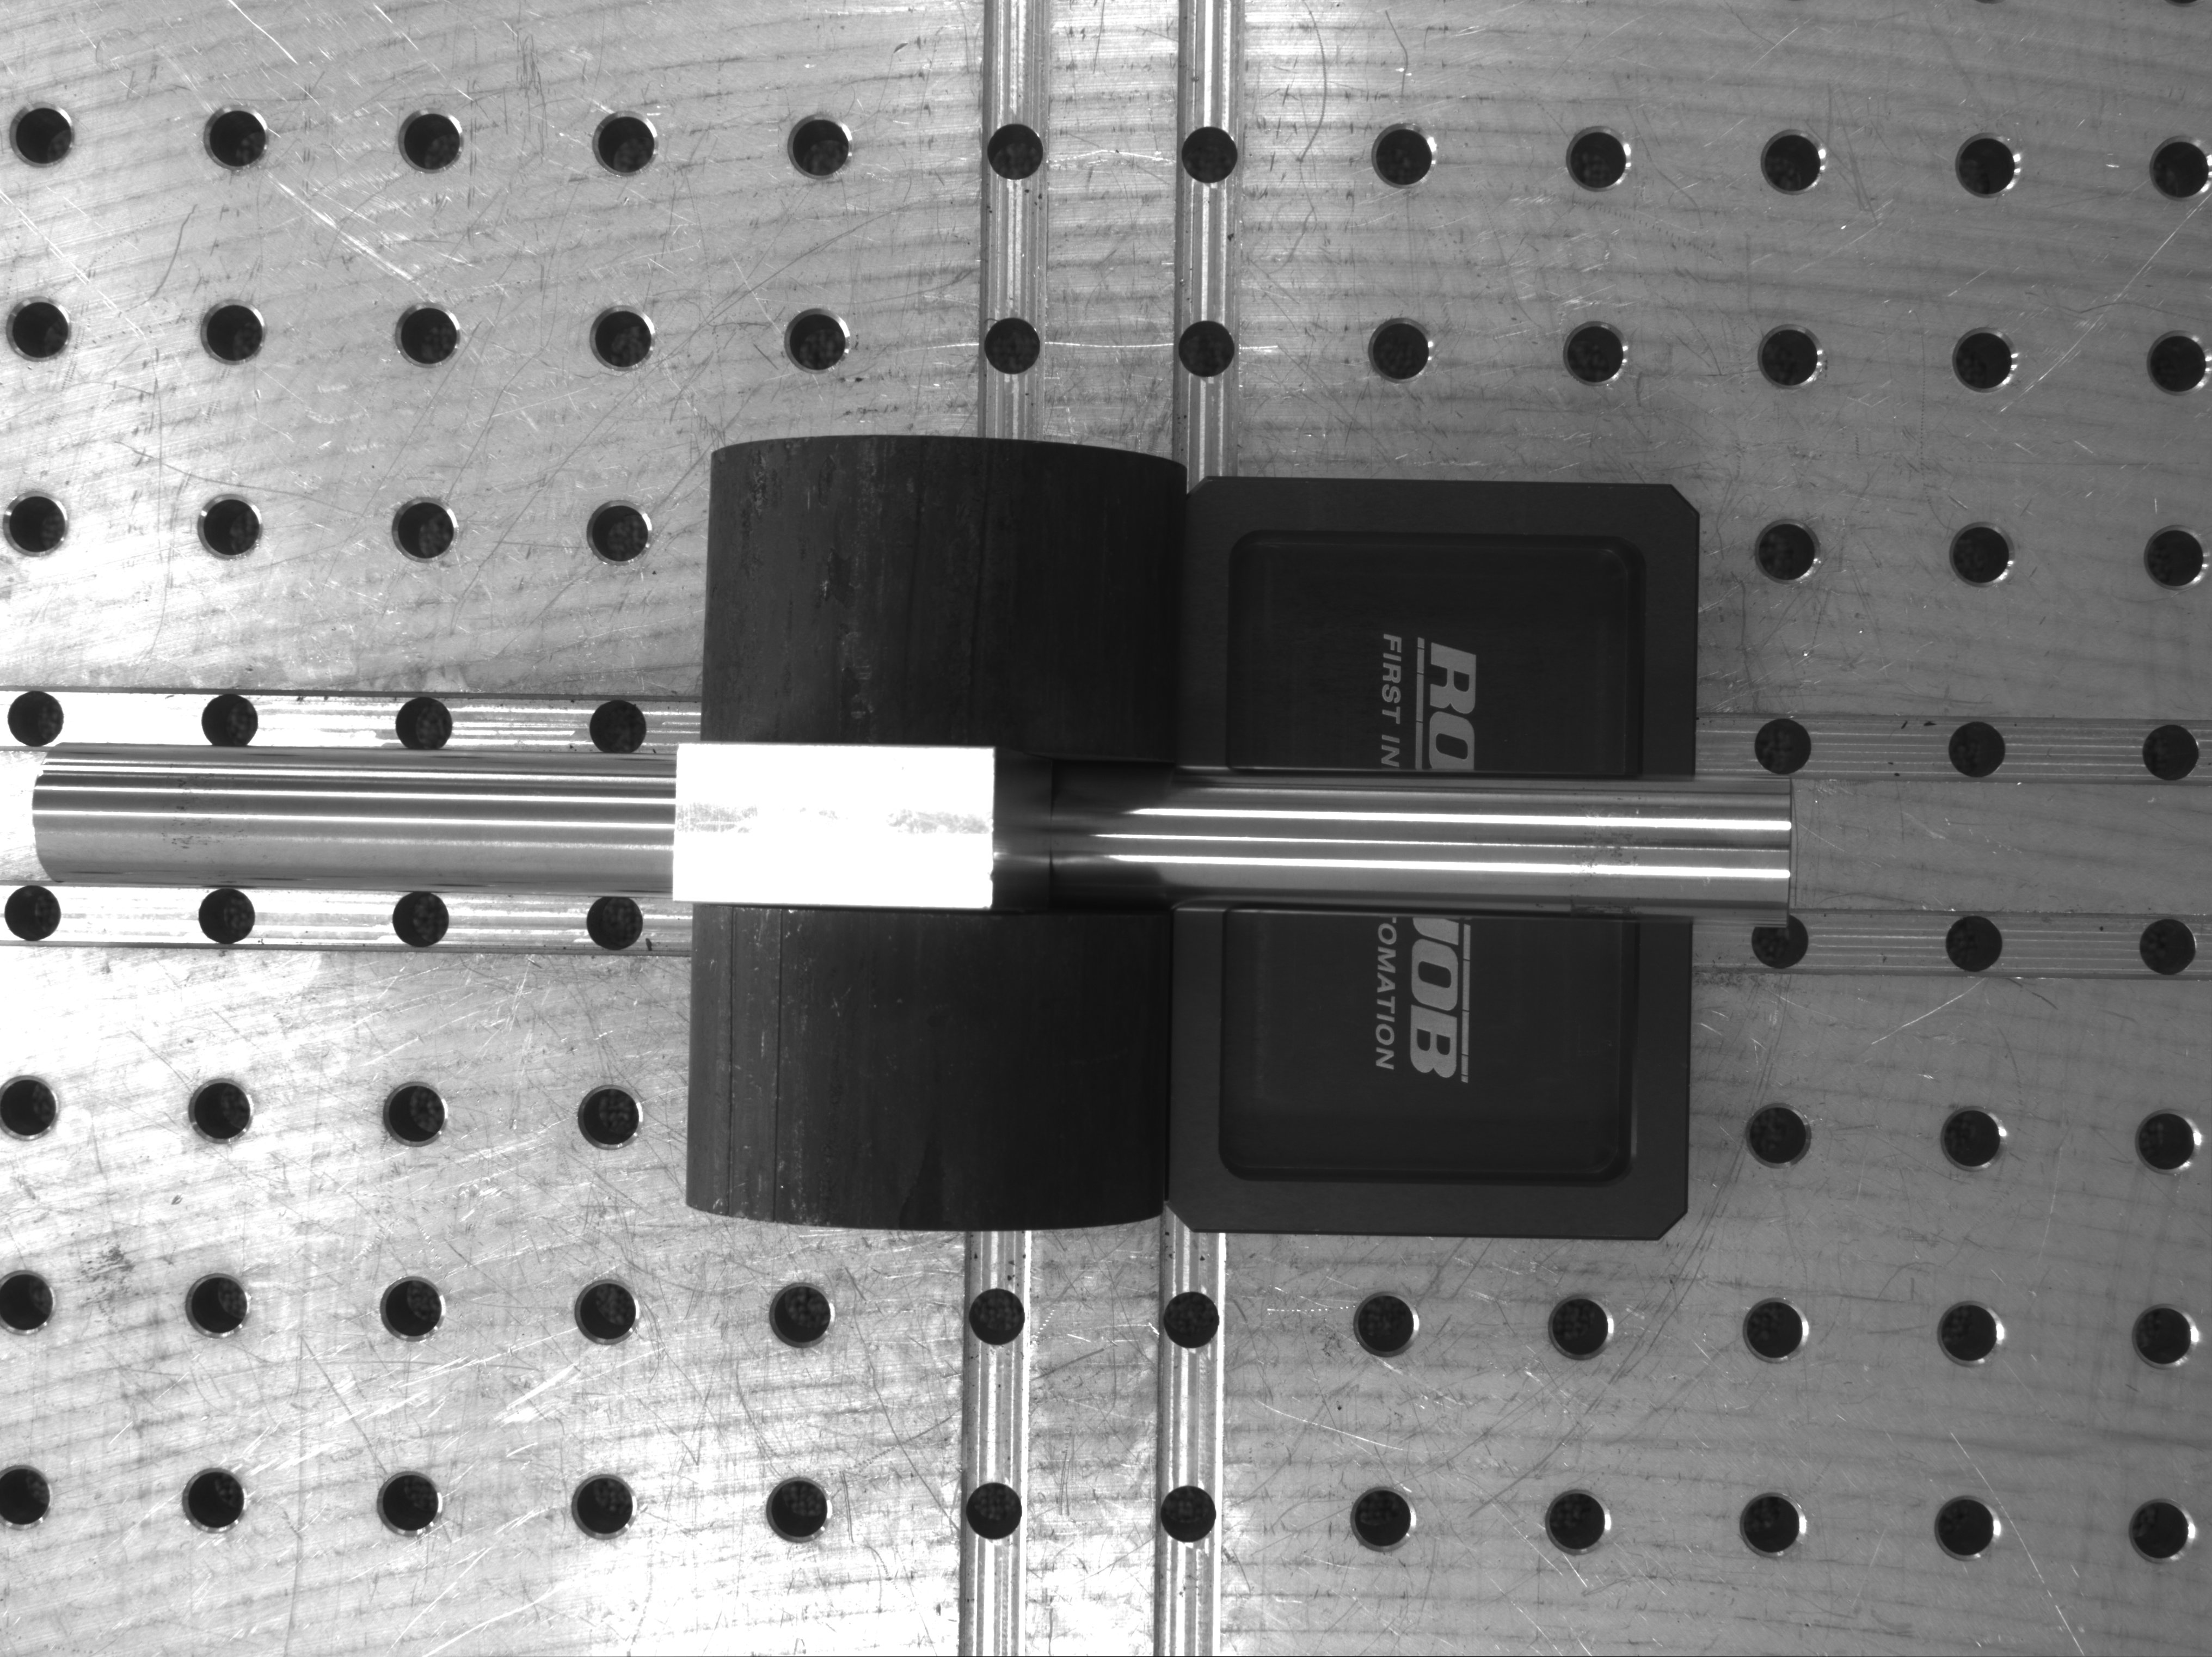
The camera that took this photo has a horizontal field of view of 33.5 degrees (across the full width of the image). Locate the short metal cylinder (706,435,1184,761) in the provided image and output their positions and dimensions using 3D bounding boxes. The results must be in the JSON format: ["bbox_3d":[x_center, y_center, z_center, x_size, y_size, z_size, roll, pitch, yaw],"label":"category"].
[{"bbox_3d":[-0.027,-0.037,0.619,0.080,0.080,0.050,1,90,0],"label":"short metal cylinder"}]

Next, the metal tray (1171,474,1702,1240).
[{"bbox_3d":[0.056,0.005,0.646,0.090,0.030,0.130,1,90,0],"label":"metal tray"}]

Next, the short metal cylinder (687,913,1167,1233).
[{"bbox_3d":[-0.030,0.039,0.620,0.080,0.080,0.050,1,90,0],"label":"short metal cylinder"}]

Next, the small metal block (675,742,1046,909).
[{"bbox_3d":[-0.038,0.000,0.588,0.050,0.050,0.025,1,90,8],"label":"small metal block"}]

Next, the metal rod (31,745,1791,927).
[{"bbox_3d":[-0.036,0.001,0.625,0.300,0.025,0.025,1,90,9],"label":"metal rod"}]
